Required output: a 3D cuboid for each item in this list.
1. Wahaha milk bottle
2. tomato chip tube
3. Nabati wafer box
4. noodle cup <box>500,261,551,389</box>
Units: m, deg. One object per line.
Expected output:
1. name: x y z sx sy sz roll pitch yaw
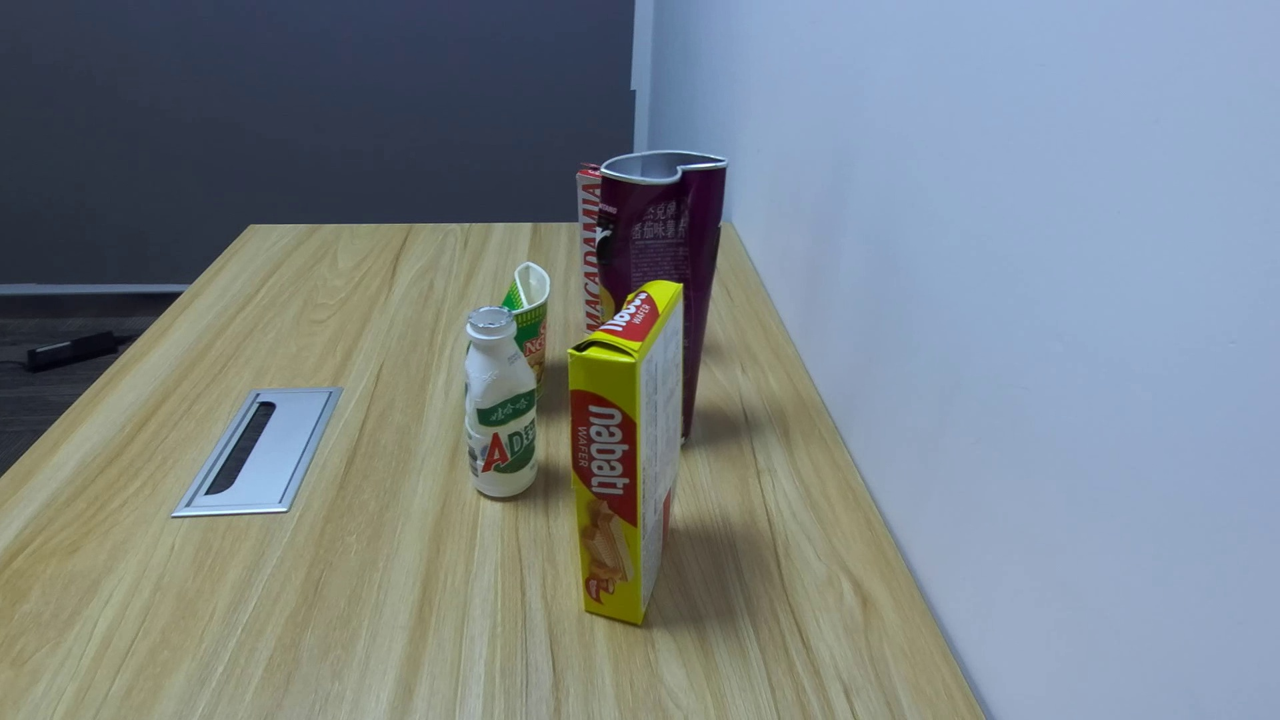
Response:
1. Wahaha milk bottle: -0.104 0.031 0.521 0.055 0.149 0.055 2 32 -1
2. tomato chip tube: 0.011 -0.038 0.554 0.077 0.235 0.076 15 34 18
3. Nabati wafer box: -0.003 0.055 0.438 0.042 0.204 0.107 9 34 14
4. noodle cup: -0.118 -0.016 0.627 0.083 0.122 0.075 -18 44 -41
